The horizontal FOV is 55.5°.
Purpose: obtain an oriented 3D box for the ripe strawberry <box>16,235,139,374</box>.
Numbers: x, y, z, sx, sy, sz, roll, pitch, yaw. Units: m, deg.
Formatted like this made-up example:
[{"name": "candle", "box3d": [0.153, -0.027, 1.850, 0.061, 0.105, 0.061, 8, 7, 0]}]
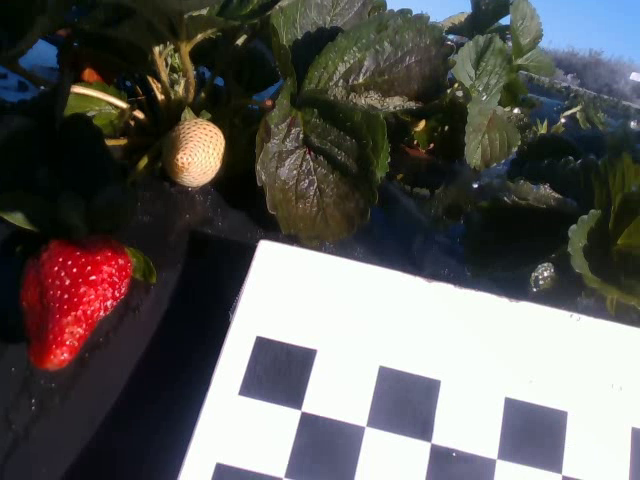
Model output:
[{"name": "ripe strawberry", "box3d": [-0.096, 0.024, 0.232, 0.048, 0.069, 0.040, -2, -34, -4]}]
